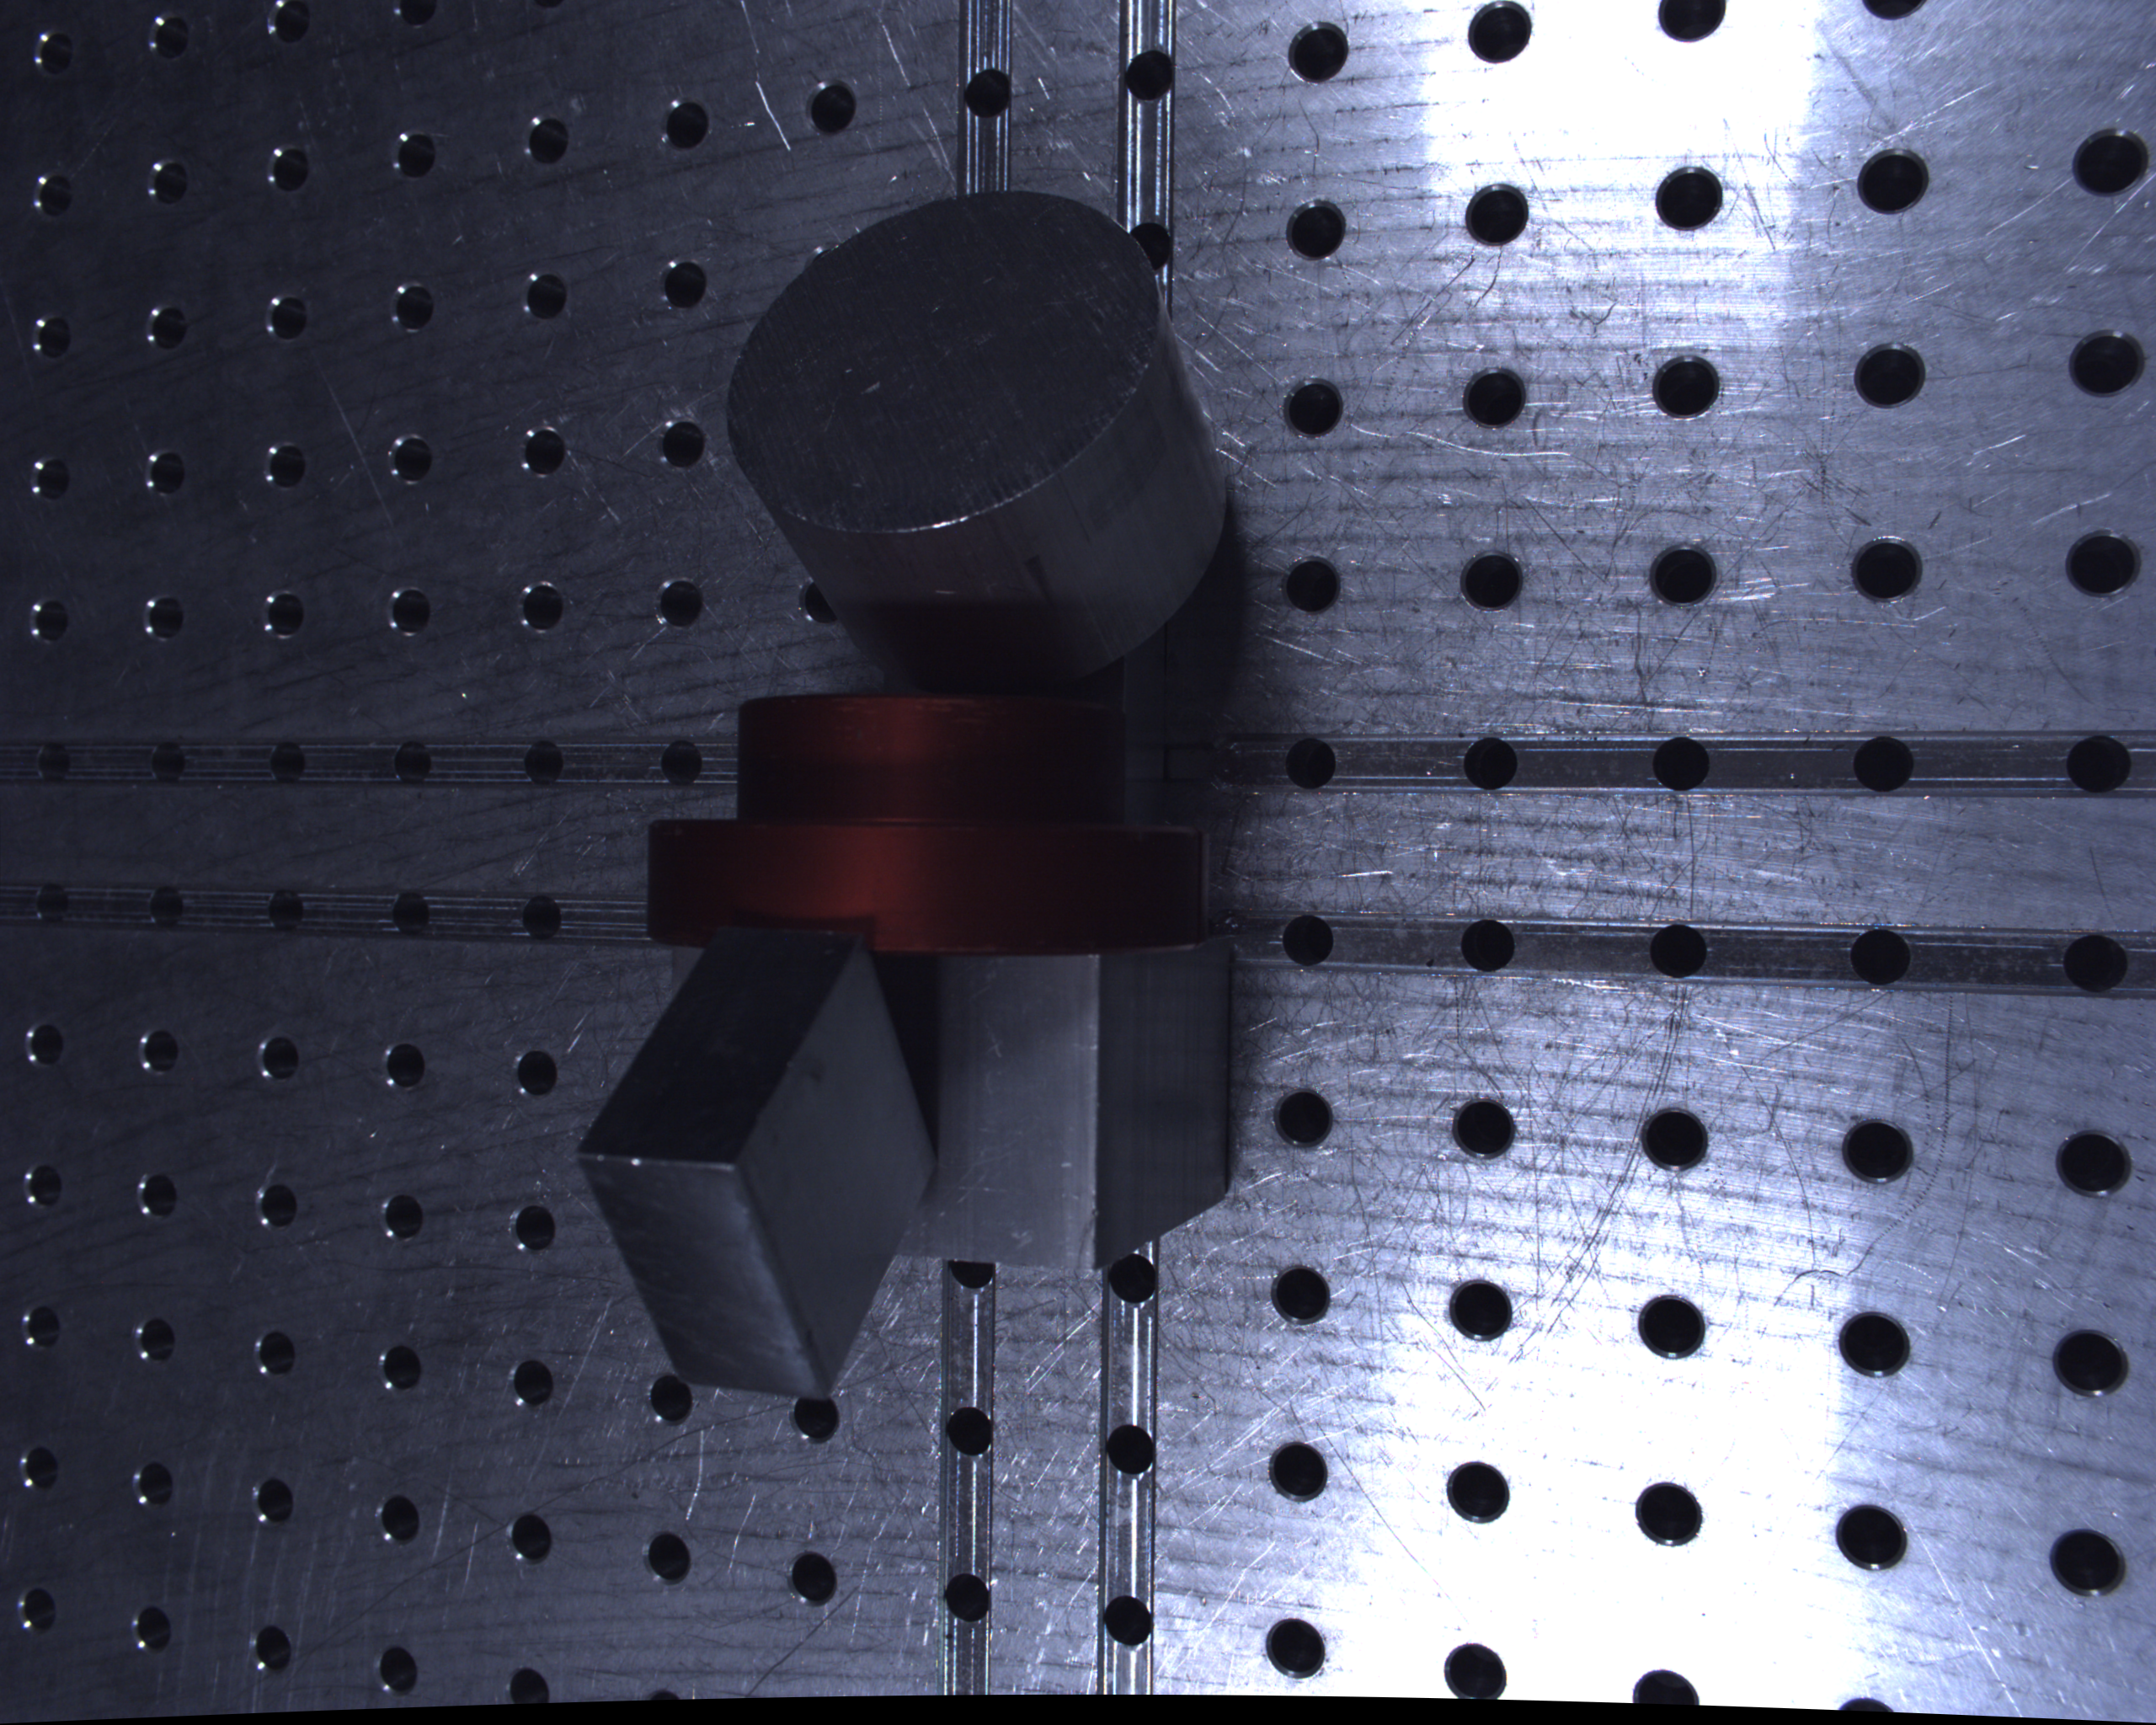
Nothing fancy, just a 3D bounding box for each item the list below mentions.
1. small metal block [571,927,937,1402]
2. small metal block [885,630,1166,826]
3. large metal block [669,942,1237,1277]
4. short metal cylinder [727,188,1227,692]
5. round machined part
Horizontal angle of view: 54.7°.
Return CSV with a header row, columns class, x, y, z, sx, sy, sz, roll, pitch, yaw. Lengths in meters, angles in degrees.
class,x,y,z,sx,sy,sz,roll,pitch,yaw
small metal block,-0.047,0.045,0.318,0.025,0.050,0.050,1,129,19
small metal block,-0.010,-0.031,0.414,0.050,0.025,0.050,1,90,19
large metal block,-0.020,0.041,0.389,0.080,0.080,0.050,1,91,19
short metal cylinder,-0.017,-0.078,0.387,0.080,0.050,0.080,-8,58,14
round machined part,-0.026,-0.007,0.371,0.098,0.098,0.042,1,91,19
